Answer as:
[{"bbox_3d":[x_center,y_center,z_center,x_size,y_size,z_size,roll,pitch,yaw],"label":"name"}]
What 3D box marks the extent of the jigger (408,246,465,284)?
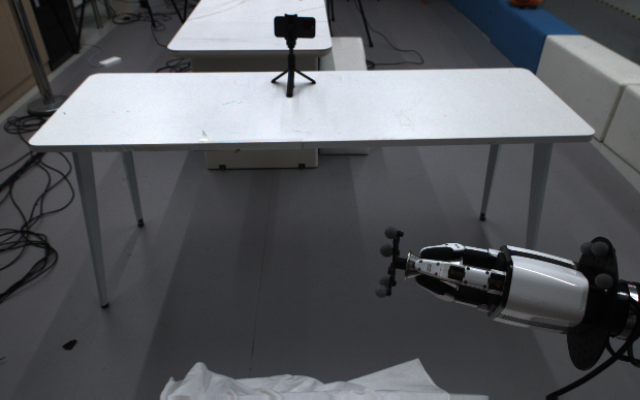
[{"bbox_3d":[0.153,0.086,0.625,0.071,0.043,0.043,8,35,14],"label":"jigger"}]
